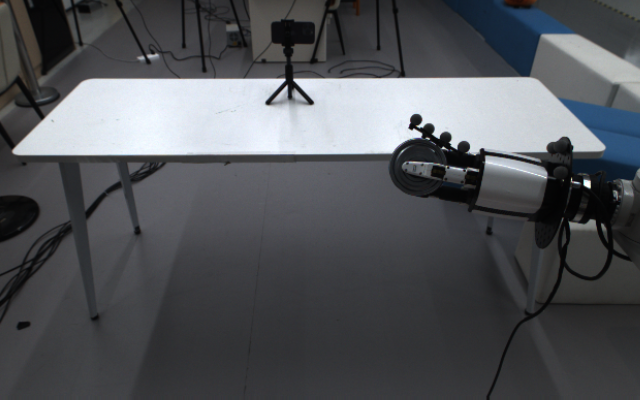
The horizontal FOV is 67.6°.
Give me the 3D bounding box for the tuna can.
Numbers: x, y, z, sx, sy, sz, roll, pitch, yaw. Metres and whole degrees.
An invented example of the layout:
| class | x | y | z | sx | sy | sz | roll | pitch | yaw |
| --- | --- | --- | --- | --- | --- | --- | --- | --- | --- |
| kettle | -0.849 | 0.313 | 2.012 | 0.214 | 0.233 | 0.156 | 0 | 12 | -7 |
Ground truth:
| class | x | y | z | sx | sy | sz | roll | pitch | yaw |
| --- | --- | --- | --- | --- | --- | --- | --- | --- | --- |
| tuna can | 0.149 | -0.043 | 0.716 | 0.085 | 0.085 | 0.034 | 12 | 4 | 15 |
